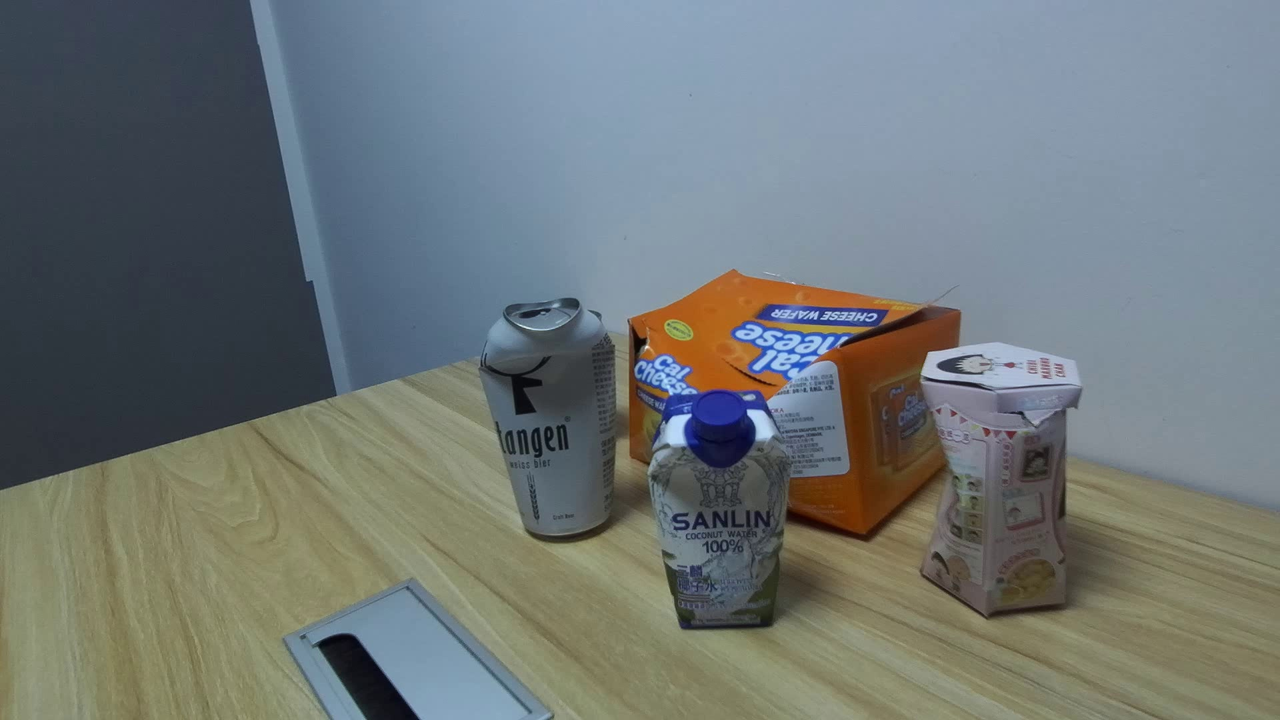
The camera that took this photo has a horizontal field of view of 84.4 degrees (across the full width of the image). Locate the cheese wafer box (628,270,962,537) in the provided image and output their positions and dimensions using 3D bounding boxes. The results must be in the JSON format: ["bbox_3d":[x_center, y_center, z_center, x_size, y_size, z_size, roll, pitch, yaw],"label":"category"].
[{"bbox_3d":[0.106,0.019,0.552,0.218,0.145,0.192,14,24,41],"label":"cheese wafer box"}]

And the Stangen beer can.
[{"bbox_3d":[-0.059,0.041,0.491,0.065,0.162,0.077,13,25,40],"label":"Stangen beer can"}]

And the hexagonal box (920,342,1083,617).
[{"bbox_3d":[0.203,0.067,0.410,0.091,0.134,0.090,-11,17,-20],"label":"hexagonal box"}]
